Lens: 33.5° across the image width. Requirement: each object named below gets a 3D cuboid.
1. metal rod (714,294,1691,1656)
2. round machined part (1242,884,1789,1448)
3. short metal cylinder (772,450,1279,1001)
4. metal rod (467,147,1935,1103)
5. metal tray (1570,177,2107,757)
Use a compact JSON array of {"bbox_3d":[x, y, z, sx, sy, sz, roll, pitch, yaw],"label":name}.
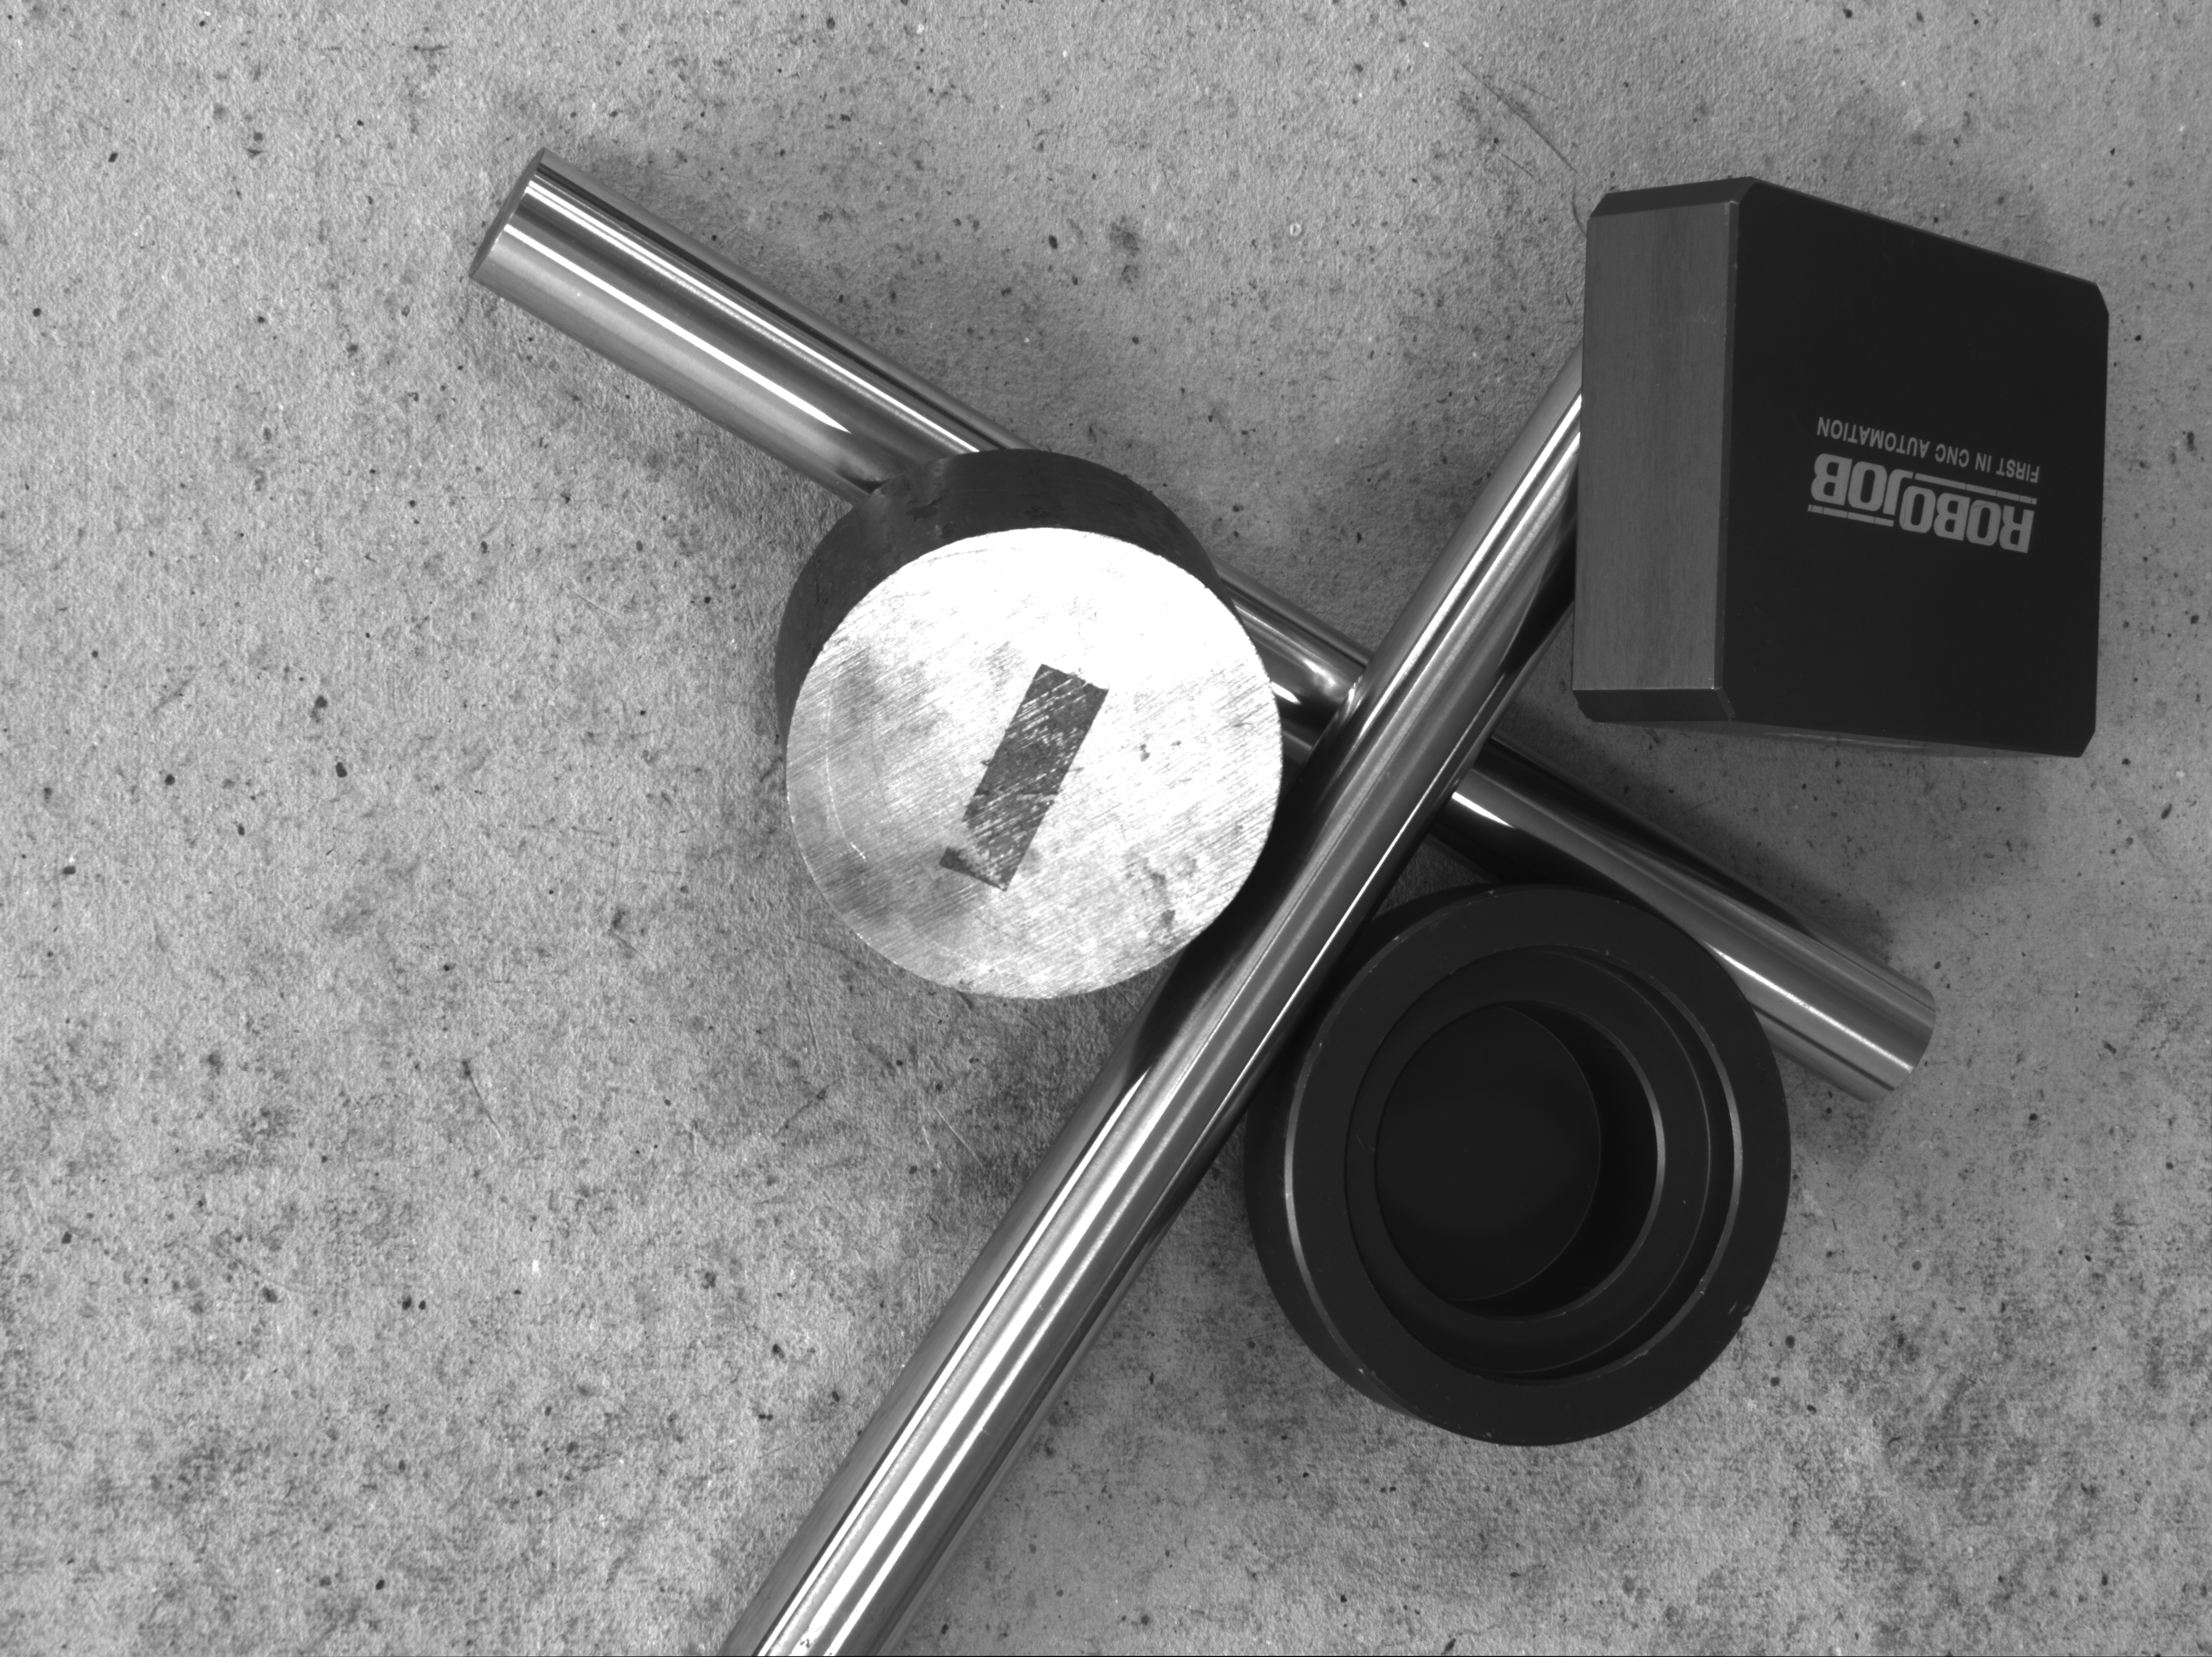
[{"bbox_3d":[0.018,0.034,0.632,0.025,0.025,0.300,35,85,-16],"label":"metal rod"},{"bbox_3d":[0.070,0.059,0.660,0.098,0.042,0.098,0,90,-20],"label":"round machined part"},{"bbox_3d":[-0.015,-0.018,0.611,0.080,0.050,0.080,-2,110,-6],"label":"short metal cylinder"},{"bbox_3d":[0.025,-0.031,0.653,0.301,0.025,0.025,30,80,-17],"label":"metal rod"},{"bbox_3d":[0.134,-0.061,0.660,0.130,0.030,0.090,3,89,-48],"label":"metal tray"}]
